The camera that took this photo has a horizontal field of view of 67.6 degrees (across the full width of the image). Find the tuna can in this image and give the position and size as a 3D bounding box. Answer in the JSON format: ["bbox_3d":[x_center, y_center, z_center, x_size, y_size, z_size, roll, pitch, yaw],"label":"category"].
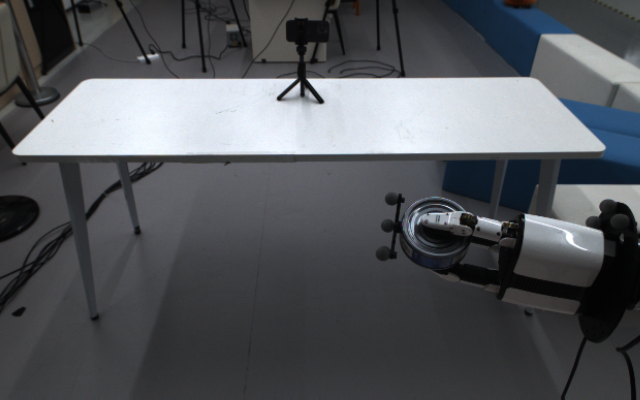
[{"bbox_3d":[0.144,0.037,0.591,0.085,0.034,0.085,-2,57,3],"label":"tuna can"}]
